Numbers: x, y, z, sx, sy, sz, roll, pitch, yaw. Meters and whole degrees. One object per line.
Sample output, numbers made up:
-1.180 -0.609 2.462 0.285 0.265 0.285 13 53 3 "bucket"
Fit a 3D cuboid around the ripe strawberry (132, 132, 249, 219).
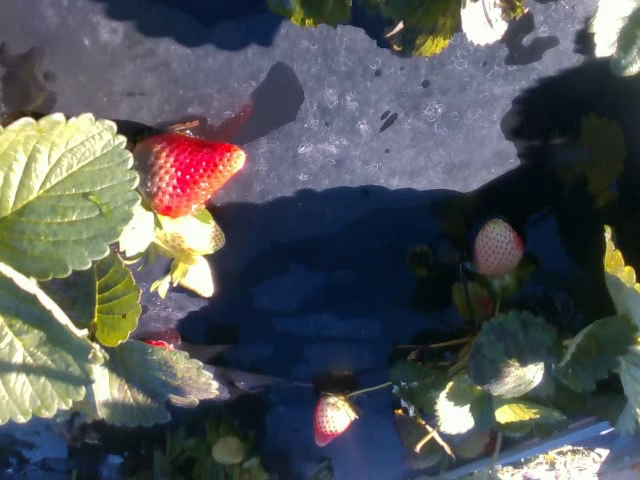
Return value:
-0.061 -0.036 0.297 0.064 0.052 0.049 -18 -15 23 "ripe strawberry"
